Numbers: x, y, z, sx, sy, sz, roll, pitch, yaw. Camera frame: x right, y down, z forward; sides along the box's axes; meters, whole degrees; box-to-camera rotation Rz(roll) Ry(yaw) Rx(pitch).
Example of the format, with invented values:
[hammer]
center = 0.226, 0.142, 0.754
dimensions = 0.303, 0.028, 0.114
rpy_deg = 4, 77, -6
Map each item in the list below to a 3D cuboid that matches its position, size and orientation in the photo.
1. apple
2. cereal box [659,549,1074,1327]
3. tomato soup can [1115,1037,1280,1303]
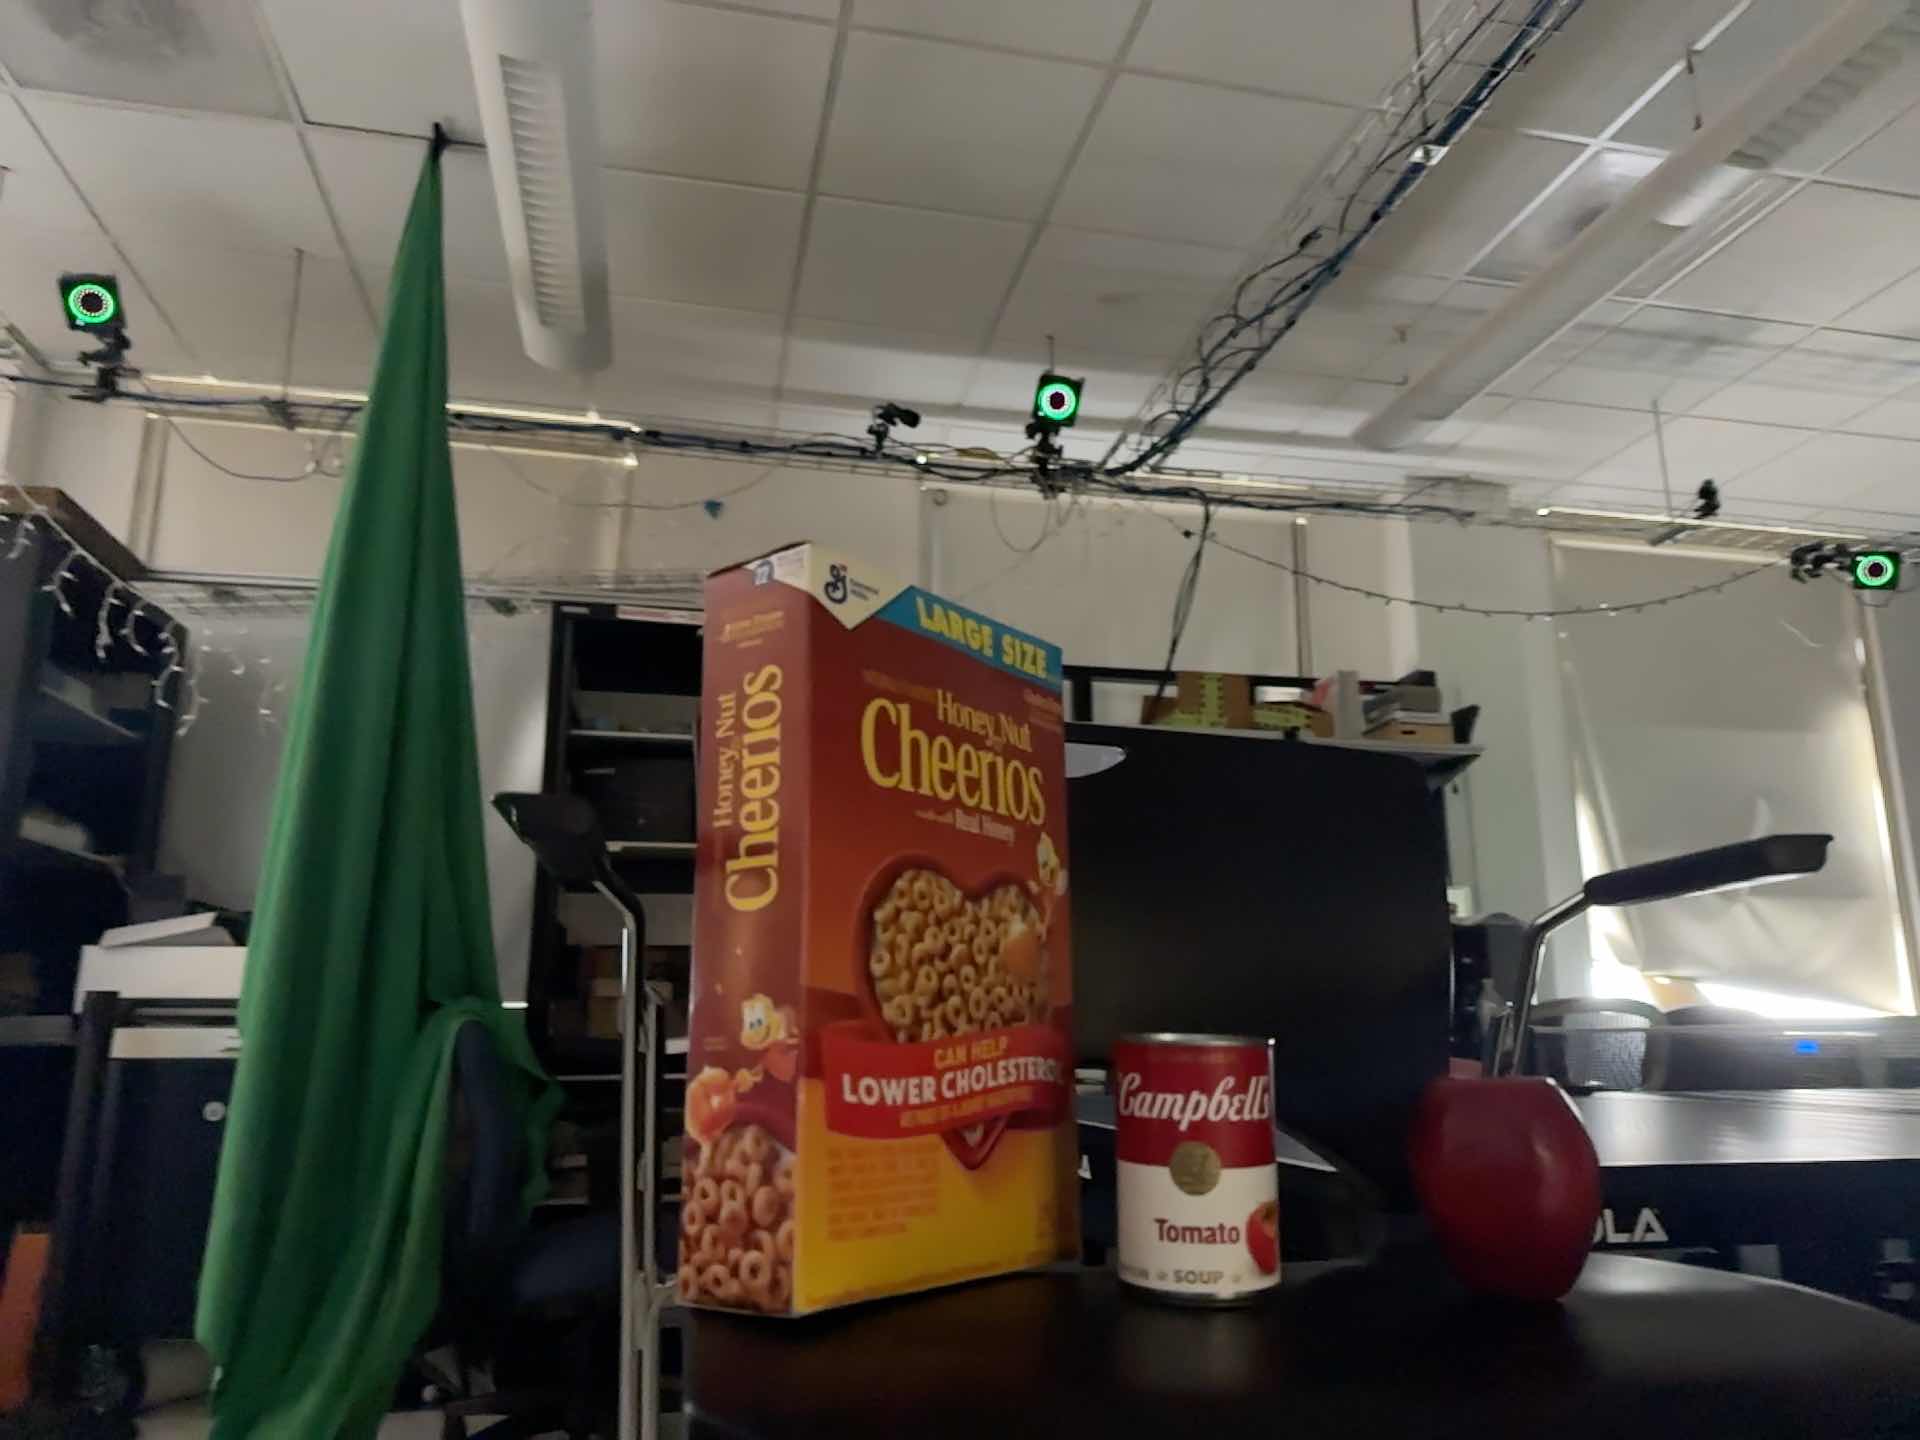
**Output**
[apple]
center = 0.230, 0.191, 0.567
dimensions = 0.079, 0.093, 0.079
rpy_deg = 0, -6, 0
[cereal box]
center = -0.032, 0.095, 0.617
dimensions = 0.065, 0.297, 0.195
rpy_deg = -8, -16, 37
[tomato soup can]
center = 0.100, 0.188, 0.575
dimensions = 0.067, 0.102, 0.067
rpy_deg = 1, -10, 0
